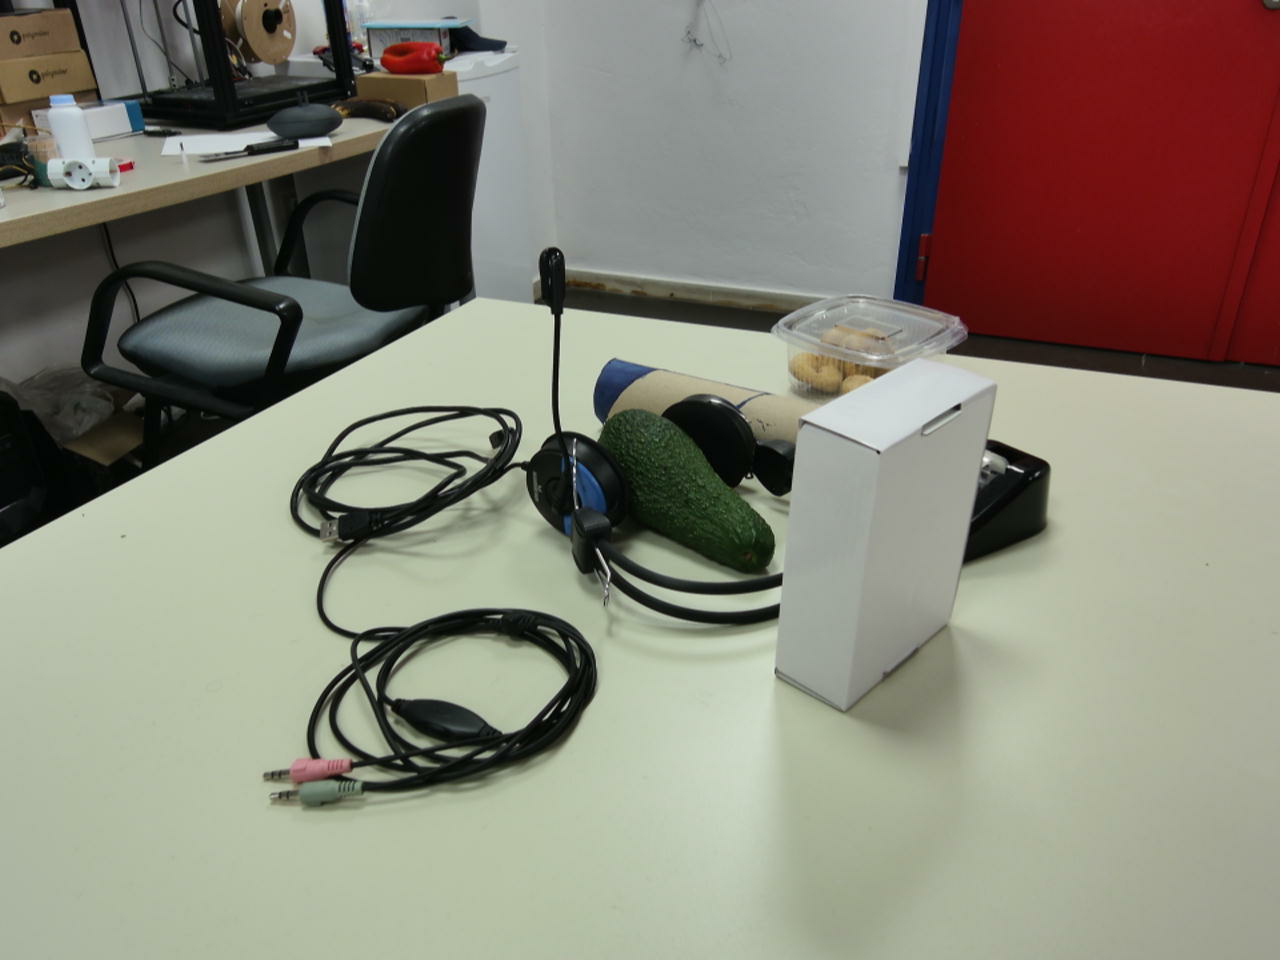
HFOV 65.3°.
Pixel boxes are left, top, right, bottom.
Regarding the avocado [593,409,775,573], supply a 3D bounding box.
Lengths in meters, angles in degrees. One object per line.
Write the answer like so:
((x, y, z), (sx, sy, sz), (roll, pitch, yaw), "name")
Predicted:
((0.029, 0.001, 0.585), (0.141, 0.067, 0.063), (20, 32, 35), "avocado")
